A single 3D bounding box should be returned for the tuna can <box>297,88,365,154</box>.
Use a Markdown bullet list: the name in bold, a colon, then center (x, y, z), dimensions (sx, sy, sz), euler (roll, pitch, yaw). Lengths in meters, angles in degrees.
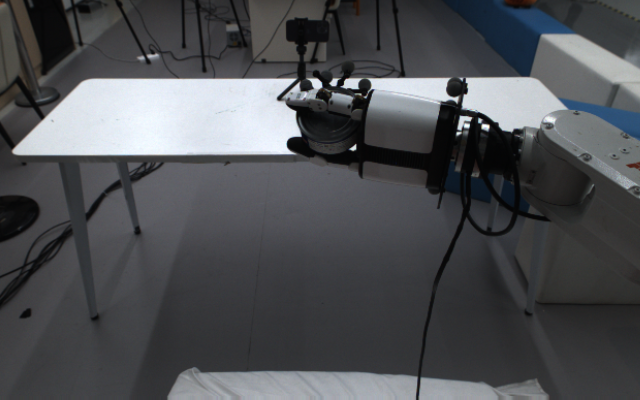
- **tuna can**: center (0.015, -0.103, 0.625), dimensions (0.085, 0.034, 0.085), euler (-4, 61, 7)
